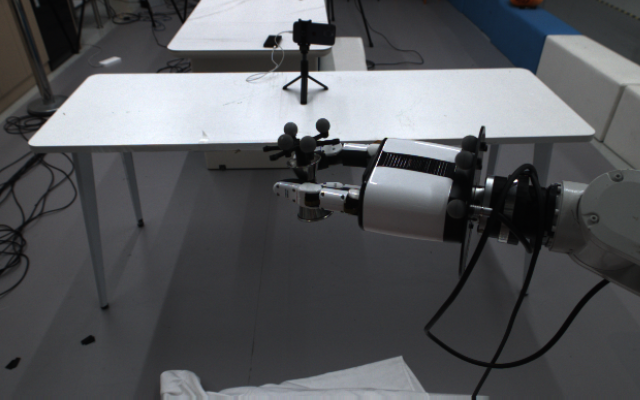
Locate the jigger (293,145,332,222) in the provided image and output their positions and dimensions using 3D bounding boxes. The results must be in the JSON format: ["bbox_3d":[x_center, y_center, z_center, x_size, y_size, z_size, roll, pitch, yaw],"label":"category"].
[{"bbox_3d":[-0.010,-0.016,0.562,0.043,0.071,0.043,-10,23,5],"label":"jigger"}]
